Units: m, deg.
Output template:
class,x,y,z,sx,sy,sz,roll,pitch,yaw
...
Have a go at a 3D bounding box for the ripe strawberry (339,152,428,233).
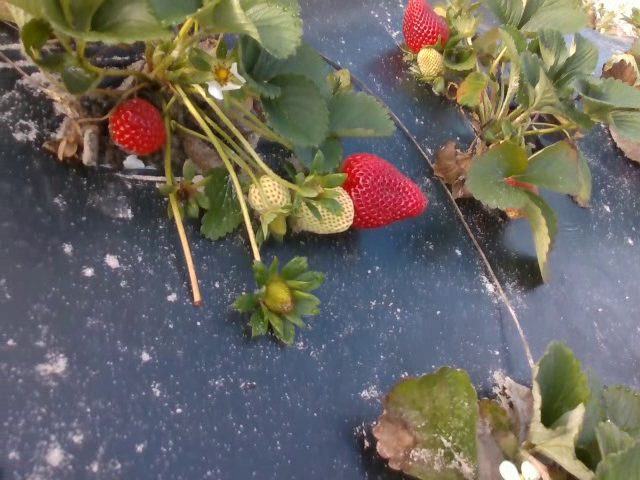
class,x,y,z,sx,sy,sz,roll,pitch,yaw
ripe strawberry,0.041,-0.025,0.387,0.055,0.051,0.048,20,-4,14
